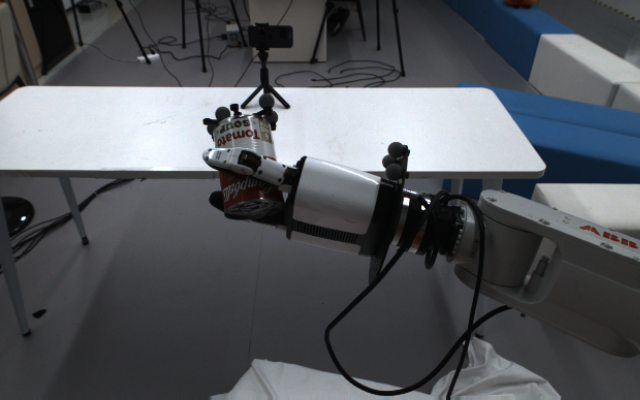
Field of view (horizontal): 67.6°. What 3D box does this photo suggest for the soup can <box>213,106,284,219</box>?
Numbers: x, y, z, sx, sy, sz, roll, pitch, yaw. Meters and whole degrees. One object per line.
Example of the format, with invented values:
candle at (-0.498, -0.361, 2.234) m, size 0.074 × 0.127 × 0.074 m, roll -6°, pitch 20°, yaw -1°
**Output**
soup can at (-0.079, -0.035, 0.544) m, size 0.067 × 0.067 × 0.101 m, roll -8°, pitch 74°, yaw -14°
